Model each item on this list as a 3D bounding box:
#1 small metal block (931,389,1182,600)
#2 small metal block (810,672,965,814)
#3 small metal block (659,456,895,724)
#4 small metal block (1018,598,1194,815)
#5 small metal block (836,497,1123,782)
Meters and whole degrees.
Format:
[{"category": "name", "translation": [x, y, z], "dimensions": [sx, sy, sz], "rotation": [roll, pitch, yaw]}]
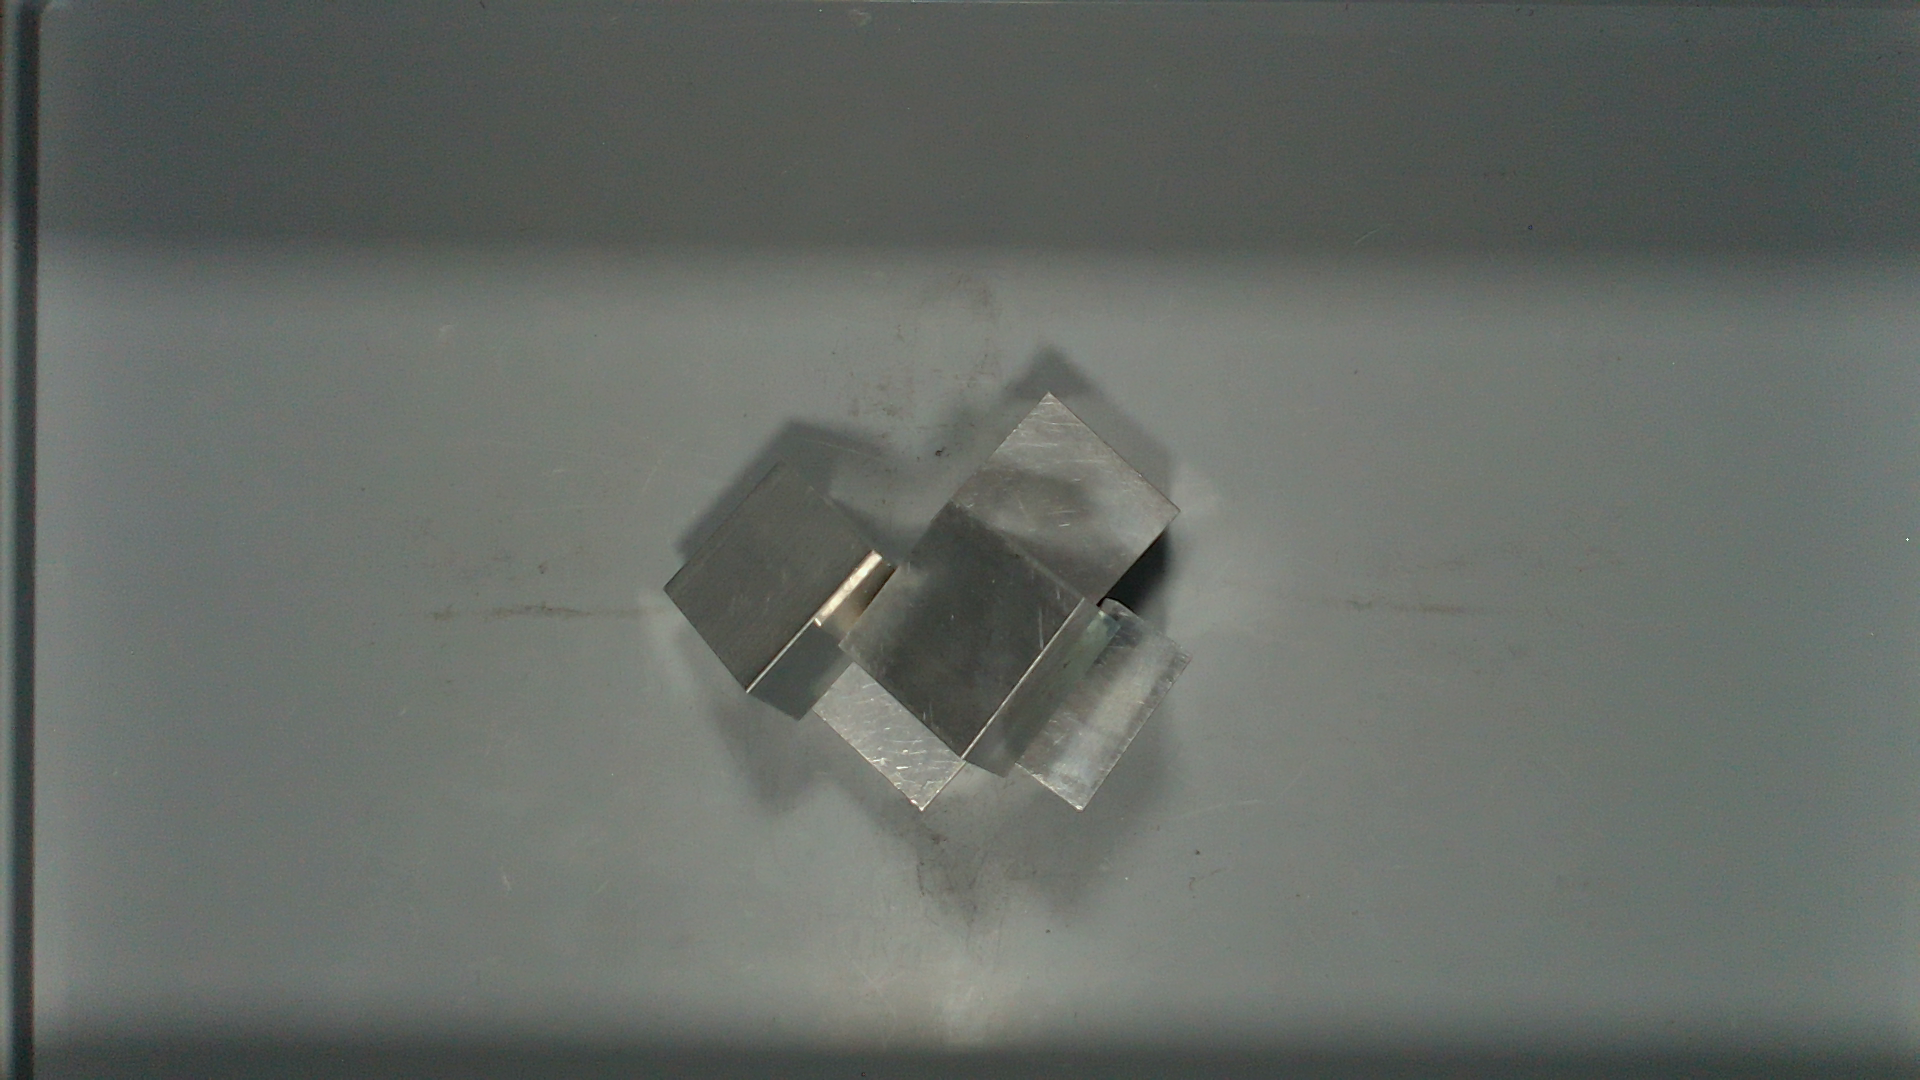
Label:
[{"category": "small metal block", "translation": [0.026, -0.007, 0.394], "dimensions": [0.050, 0.025, 0.050], "rotation": [42, 90, 0]}, {"category": "small metal block", "translation": [-0.012, 0.041, 0.394], "dimensions": [0.050, 0.025, 0.050], "rotation": [42, 90, 0]}, {"category": "small metal block", "translation": [-0.048, 0.013, 0.382], "dimensions": [0.050, 0.025, 0.050], "rotation": [-48, 51, 1]}, {"category": "small metal block", "translation": [0.036, 0.044, 0.382], "dimensions": [0.025, 0.050, 0.050], "rotation": [35, 90, 0]}, {"category": "small metal block", "translation": [0.005, 0.025, 0.357], "dimensions": [0.050, 0.025, 0.050], "rotation": [38, 90, 34]}]
